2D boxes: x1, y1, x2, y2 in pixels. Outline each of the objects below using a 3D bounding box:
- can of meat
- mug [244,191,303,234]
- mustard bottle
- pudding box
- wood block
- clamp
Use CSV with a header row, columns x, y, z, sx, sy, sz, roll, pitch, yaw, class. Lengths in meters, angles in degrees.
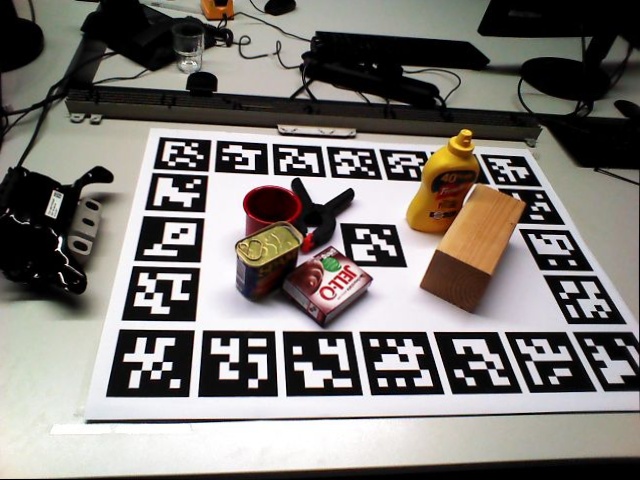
x,y,z,sx,sy,sz,roll,pitch,yaw,class
-0.073,0.029,0.758,0.101,0.084,0.058,-23,55,-28,can of meat
-0.074,-0.028,0.854,0.093,0.082,0.116,18,48,7,mug
0.226,-0.103,0.867,0.096,0.192,0.058,-2,48,-11,mustard bottle
0.022,0.067,0.777,0.113,0.039,0.090,-31,59,-35,pudding box
0.268,0.012,0.842,0.090,0.091,0.204,28,46,19,wood block
0.004,-0.051,0.896,0.122,0.037,0.164,17,48,4,clamp
